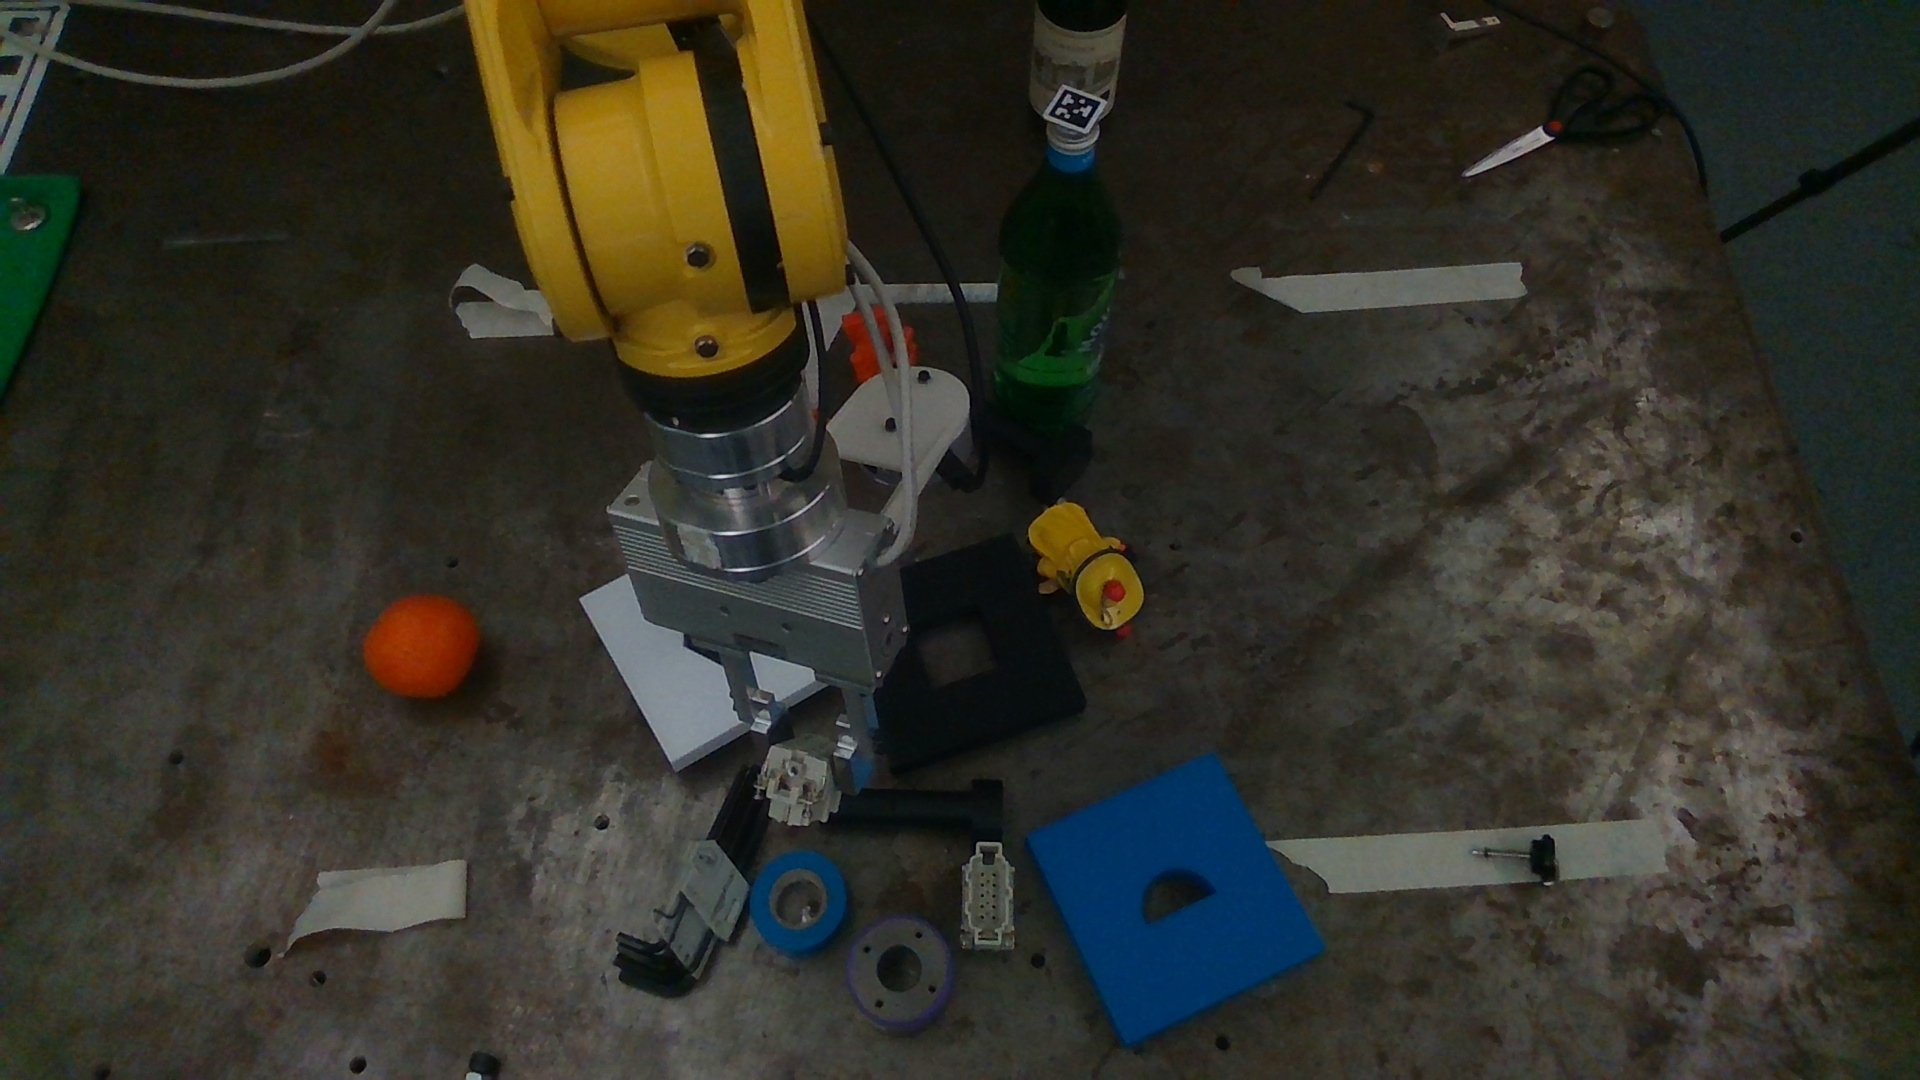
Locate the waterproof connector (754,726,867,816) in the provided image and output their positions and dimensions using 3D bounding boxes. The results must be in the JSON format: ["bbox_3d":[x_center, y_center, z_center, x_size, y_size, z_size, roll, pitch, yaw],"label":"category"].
[{"bbox_3d":[-0.077,0.122,0.730,0.037,0.069,0.038,10,92,20],"label":"waterproof connector"}]
